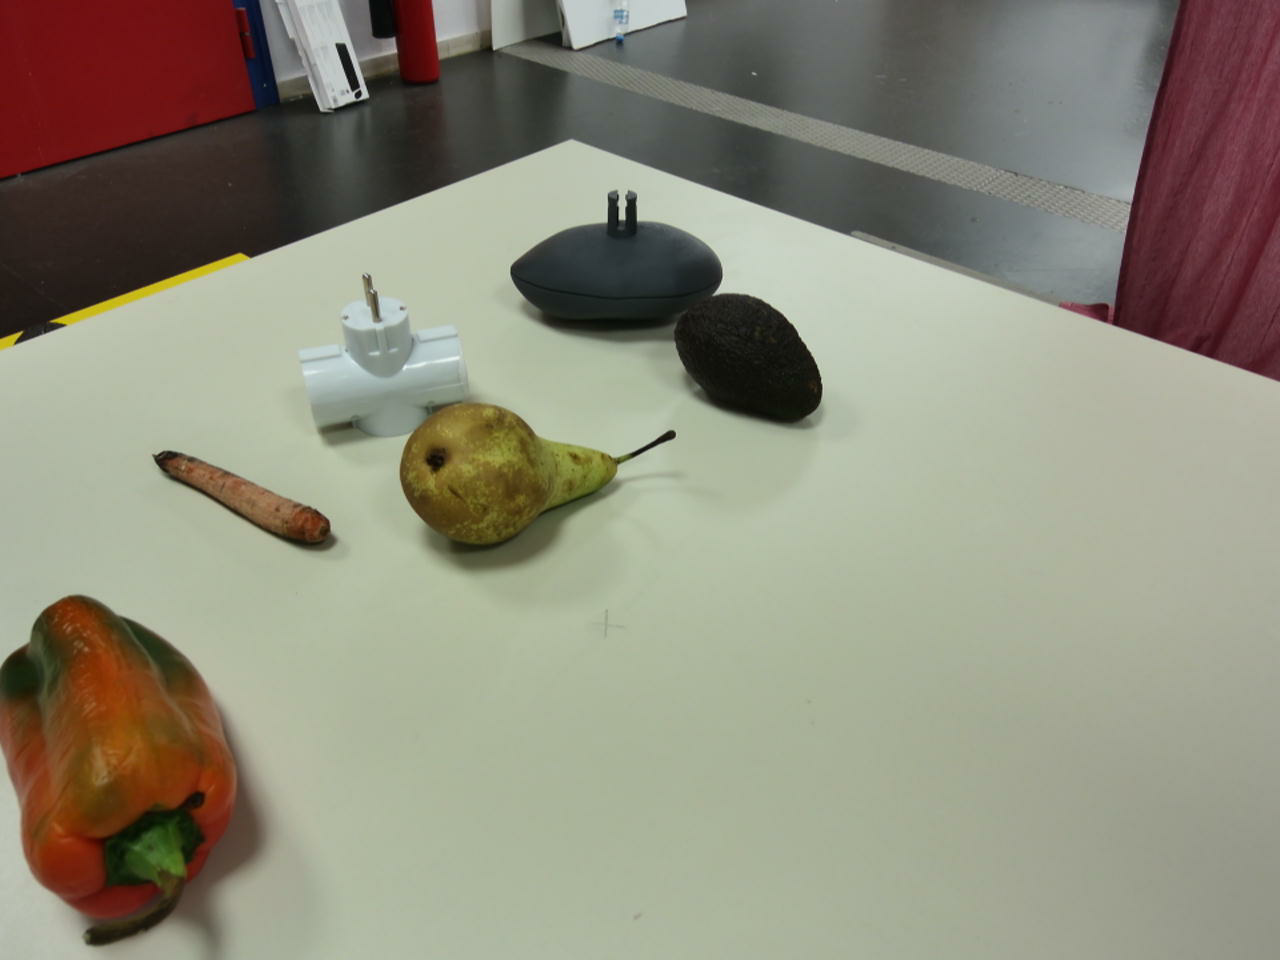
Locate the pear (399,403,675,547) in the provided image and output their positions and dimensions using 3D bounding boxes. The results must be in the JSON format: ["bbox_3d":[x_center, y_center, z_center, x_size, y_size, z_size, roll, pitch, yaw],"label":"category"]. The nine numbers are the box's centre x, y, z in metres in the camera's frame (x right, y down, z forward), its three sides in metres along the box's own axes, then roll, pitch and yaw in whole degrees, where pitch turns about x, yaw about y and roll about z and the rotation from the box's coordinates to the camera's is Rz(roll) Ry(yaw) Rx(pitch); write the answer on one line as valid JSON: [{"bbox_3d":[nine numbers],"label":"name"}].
[{"bbox_3d":[-0.057,-0.017,0.519,0.144,0.075,0.071,-29,46,-33],"label":"pear"}]
